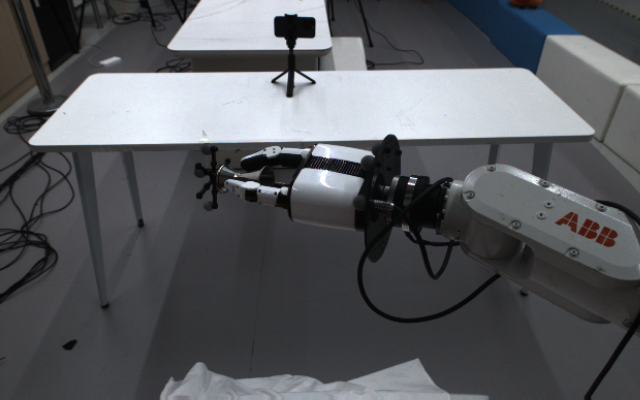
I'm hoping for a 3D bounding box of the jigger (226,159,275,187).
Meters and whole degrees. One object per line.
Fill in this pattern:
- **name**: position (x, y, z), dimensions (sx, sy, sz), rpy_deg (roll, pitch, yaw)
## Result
- **jigger**: position (-0.096, -0.030, 0.664), dimensions (0.071, 0.043, 0.043), rpy_deg (5, 34, 22)
